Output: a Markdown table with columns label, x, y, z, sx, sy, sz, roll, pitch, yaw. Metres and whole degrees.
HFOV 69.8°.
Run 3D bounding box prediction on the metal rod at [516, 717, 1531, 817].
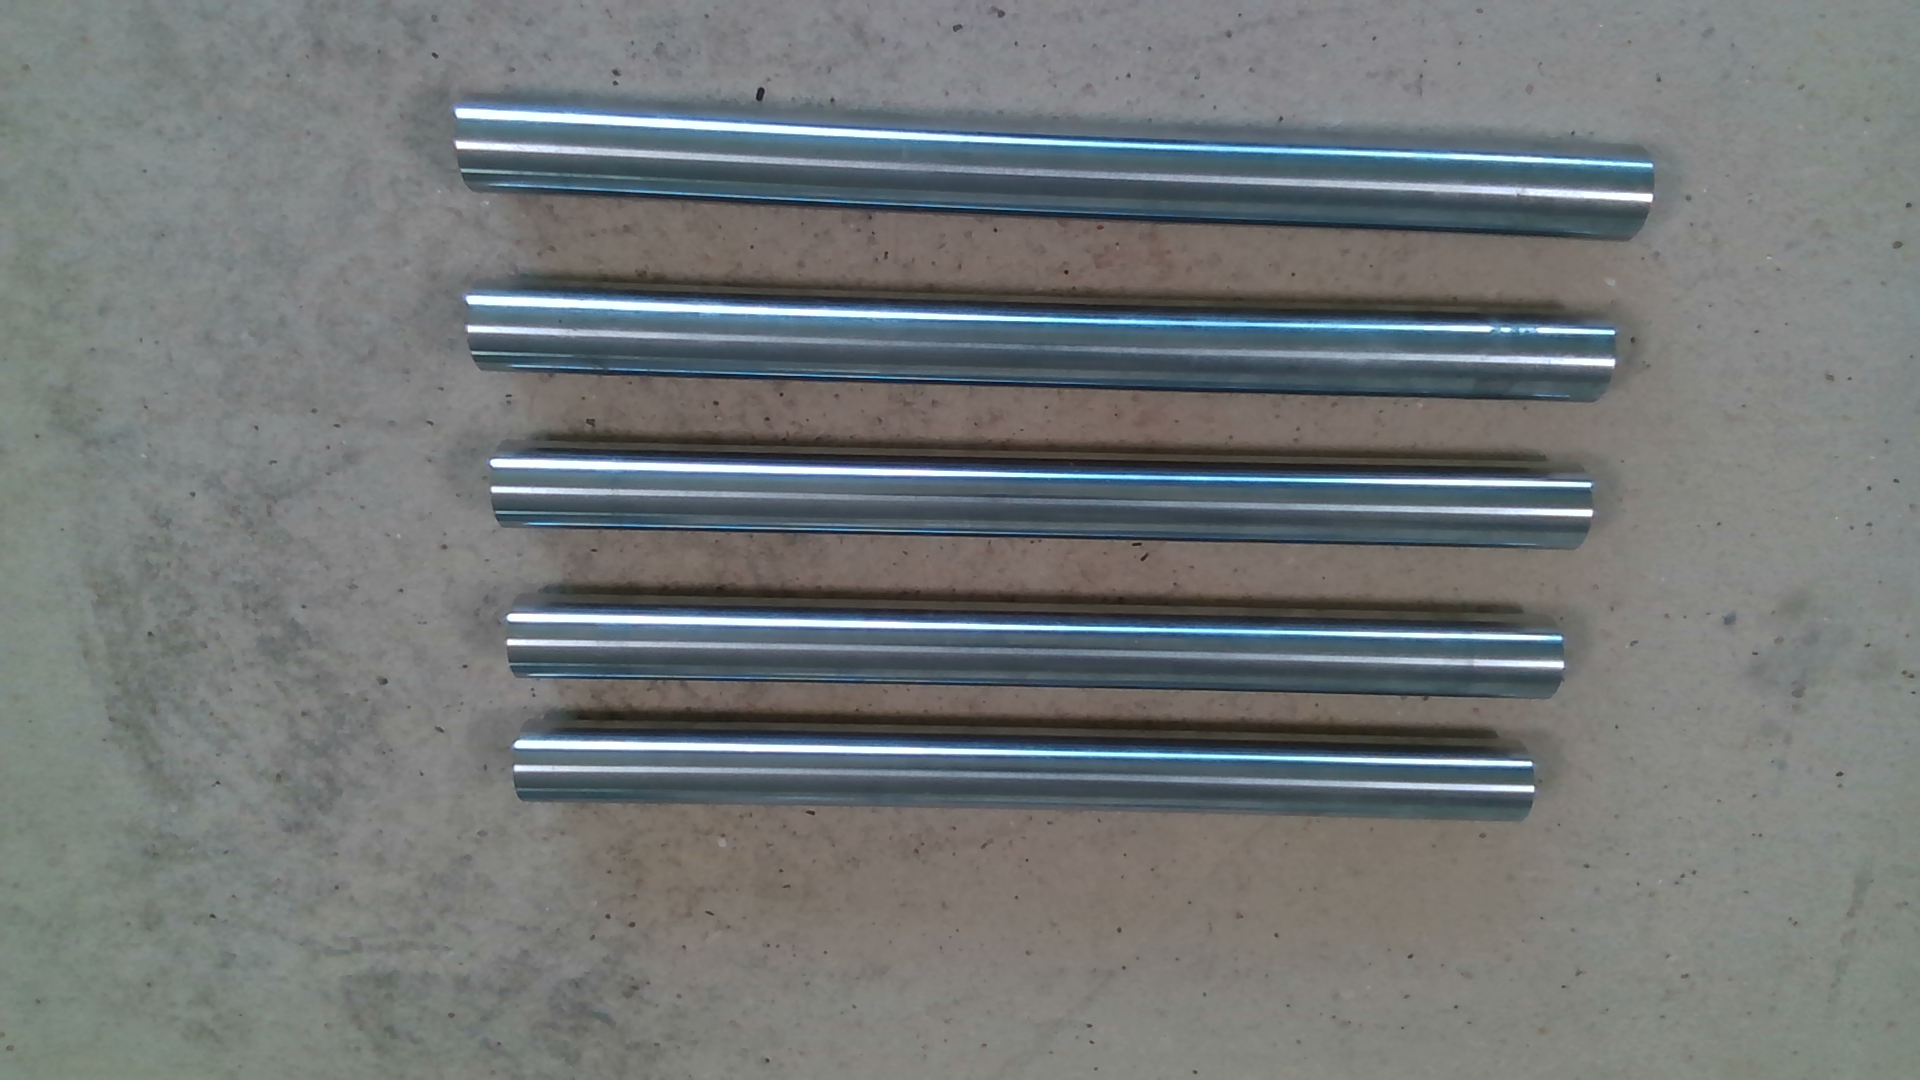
| label | x | y | z | sx | sy | sz | roll | pitch | yaw |
| --- | --- | --- | --- | --- | --- | --- | --- | --- | --- |
| metal rod | 0.019 | 0.069 | 0.419 | 0.300 | 0.025 | 0.025 | 1 | 110 | -1 |

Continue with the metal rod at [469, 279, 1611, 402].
| label | x | y | z | sx | sy | sz | roll | pitch | yaw |
| --- | --- | --- | --- | --- | --- | --- | --- | --- | --- |
| metal rod | 0.022 | -0.054 | 0.374 | 0.300 | 0.025 | 0.025 | 1 | 110 | -1 |

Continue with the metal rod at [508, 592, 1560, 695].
| label | x | y | z | sx | sy | sz | roll | pitch | yaw |
| --- | --- | --- | --- | --- | --- | --- | --- | --- | --- |
| metal rod | 0.021 | 0.031 | 0.405 | 0.300 | 0.025 | 0.025 | 1 | 110 | -1 |

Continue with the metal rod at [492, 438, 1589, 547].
| label | x | y | z | sx | sy | sz | roll | pitch | yaw |
| --- | --- | --- | --- | --- | --- | --- | --- | --- | --- |
| metal rod | 0.022 | -0.013 | 0.389 | 0.300 | 0.025 | 0.025 | 1 | 110 | -1 |

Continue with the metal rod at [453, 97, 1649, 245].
| label | x | y | z | sx | sy | sz | roll | pitch | yaw |
| --- | --- | --- | --- | --- | --- | --- | --- | --- | --- |
| metal rod | 0.024 | -0.095 | 0.357 | 0.300 | 0.025 | 0.025 | 2 | 110 | -1 |
